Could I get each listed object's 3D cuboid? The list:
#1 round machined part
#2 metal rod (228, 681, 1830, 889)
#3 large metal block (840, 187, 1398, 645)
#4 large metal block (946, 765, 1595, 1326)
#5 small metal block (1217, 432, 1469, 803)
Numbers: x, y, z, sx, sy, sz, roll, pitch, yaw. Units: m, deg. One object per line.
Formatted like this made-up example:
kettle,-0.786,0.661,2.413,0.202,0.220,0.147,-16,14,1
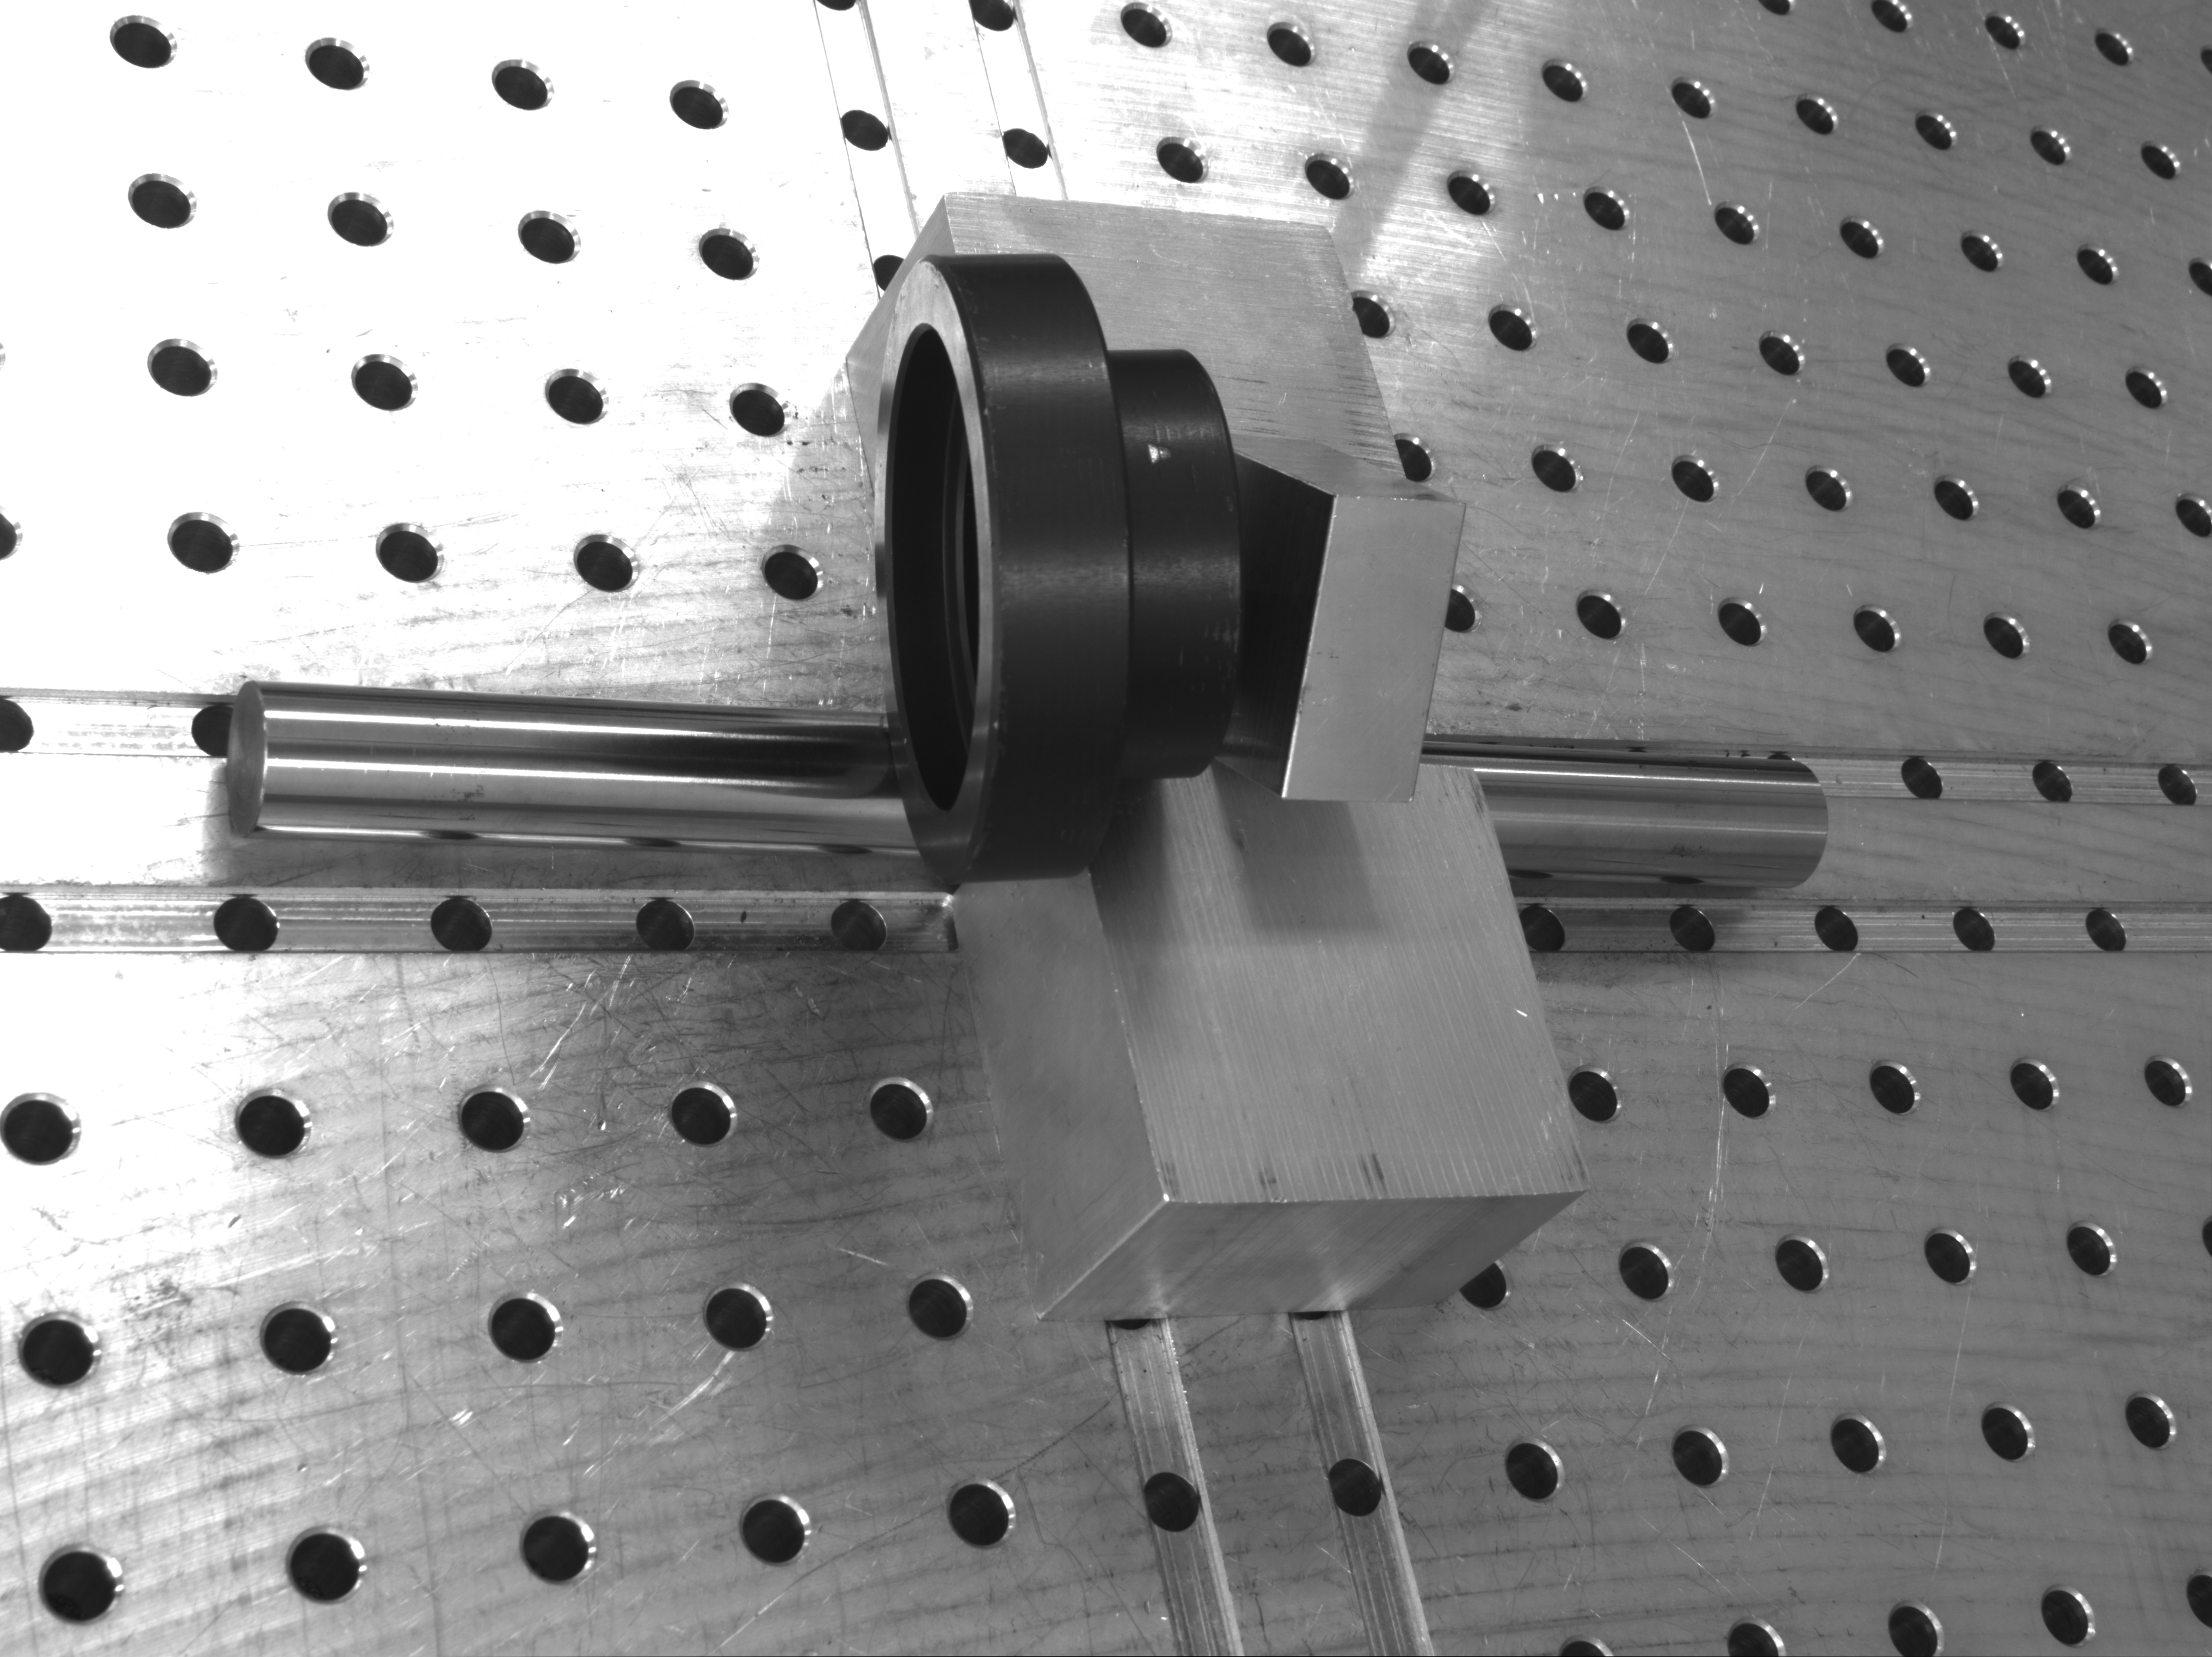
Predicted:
round machined part,-0.007,-0.041,0.580,0.042,0.098,0.098,-3,62,-13
metal rod,-0.001,-0.006,0.645,0.301,0.025,0.025,2,61,-27
large metal block,0.004,-0.066,0.669,0.080,0.050,0.080,1,61,-28
large metal block,0.026,0.035,0.619,0.080,0.050,0.080,1,61,-27
small metal block,0.032,-0.036,0.609,0.025,0.050,0.050,1,17,-28
